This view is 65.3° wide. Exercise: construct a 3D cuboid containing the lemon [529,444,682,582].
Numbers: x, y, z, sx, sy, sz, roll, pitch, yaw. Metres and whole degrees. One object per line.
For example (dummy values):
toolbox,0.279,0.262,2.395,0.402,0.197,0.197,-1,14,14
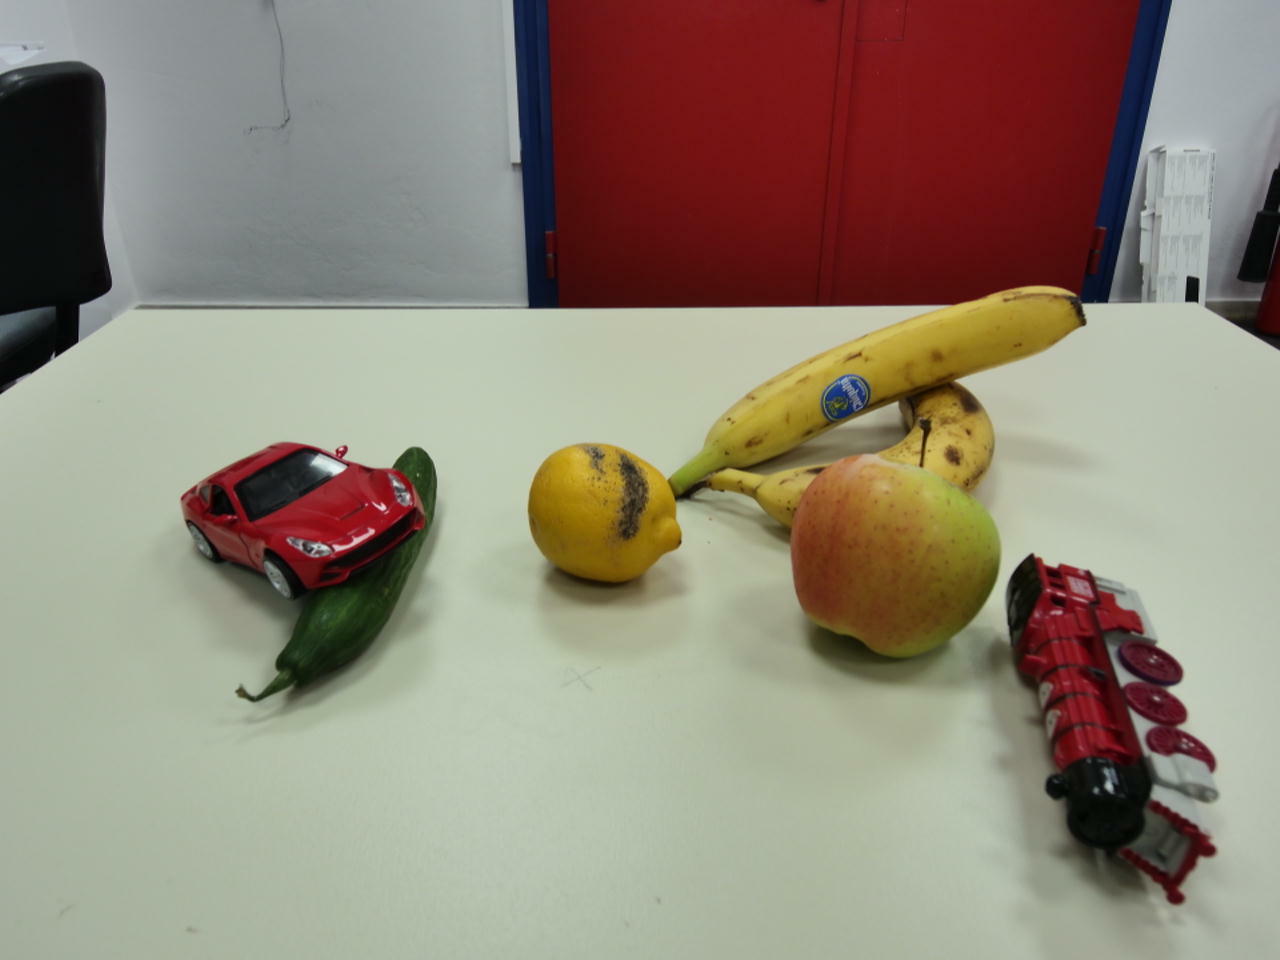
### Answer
lemon,-0.016,0.013,0.416,0.061,0.056,0.058,-4,25,-7
